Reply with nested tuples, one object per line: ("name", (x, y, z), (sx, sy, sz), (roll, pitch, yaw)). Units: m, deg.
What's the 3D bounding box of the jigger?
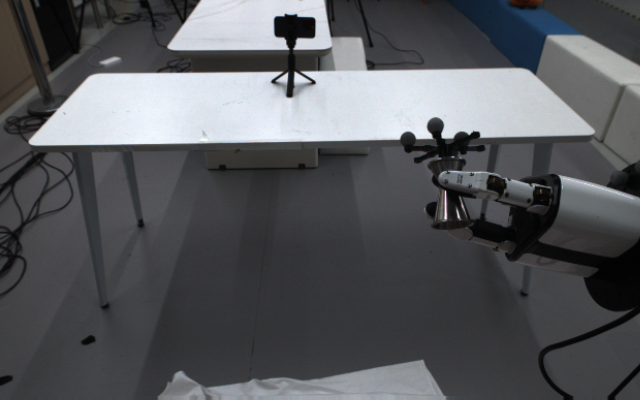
("jigger", (0.137, -0.008, 0.507), (0.043, 0.043, 0.071), (0, 75, -4))
